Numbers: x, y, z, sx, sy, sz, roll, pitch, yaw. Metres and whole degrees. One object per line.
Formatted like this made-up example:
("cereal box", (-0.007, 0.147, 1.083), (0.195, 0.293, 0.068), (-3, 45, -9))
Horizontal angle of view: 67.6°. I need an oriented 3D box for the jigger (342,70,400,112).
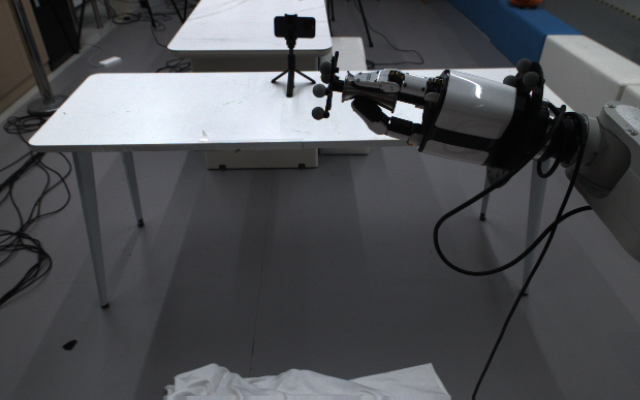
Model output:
("jigger", (0.068, -0.145, 0.620), (0.071, 0.043, 0.043), (11, 35, 3))
